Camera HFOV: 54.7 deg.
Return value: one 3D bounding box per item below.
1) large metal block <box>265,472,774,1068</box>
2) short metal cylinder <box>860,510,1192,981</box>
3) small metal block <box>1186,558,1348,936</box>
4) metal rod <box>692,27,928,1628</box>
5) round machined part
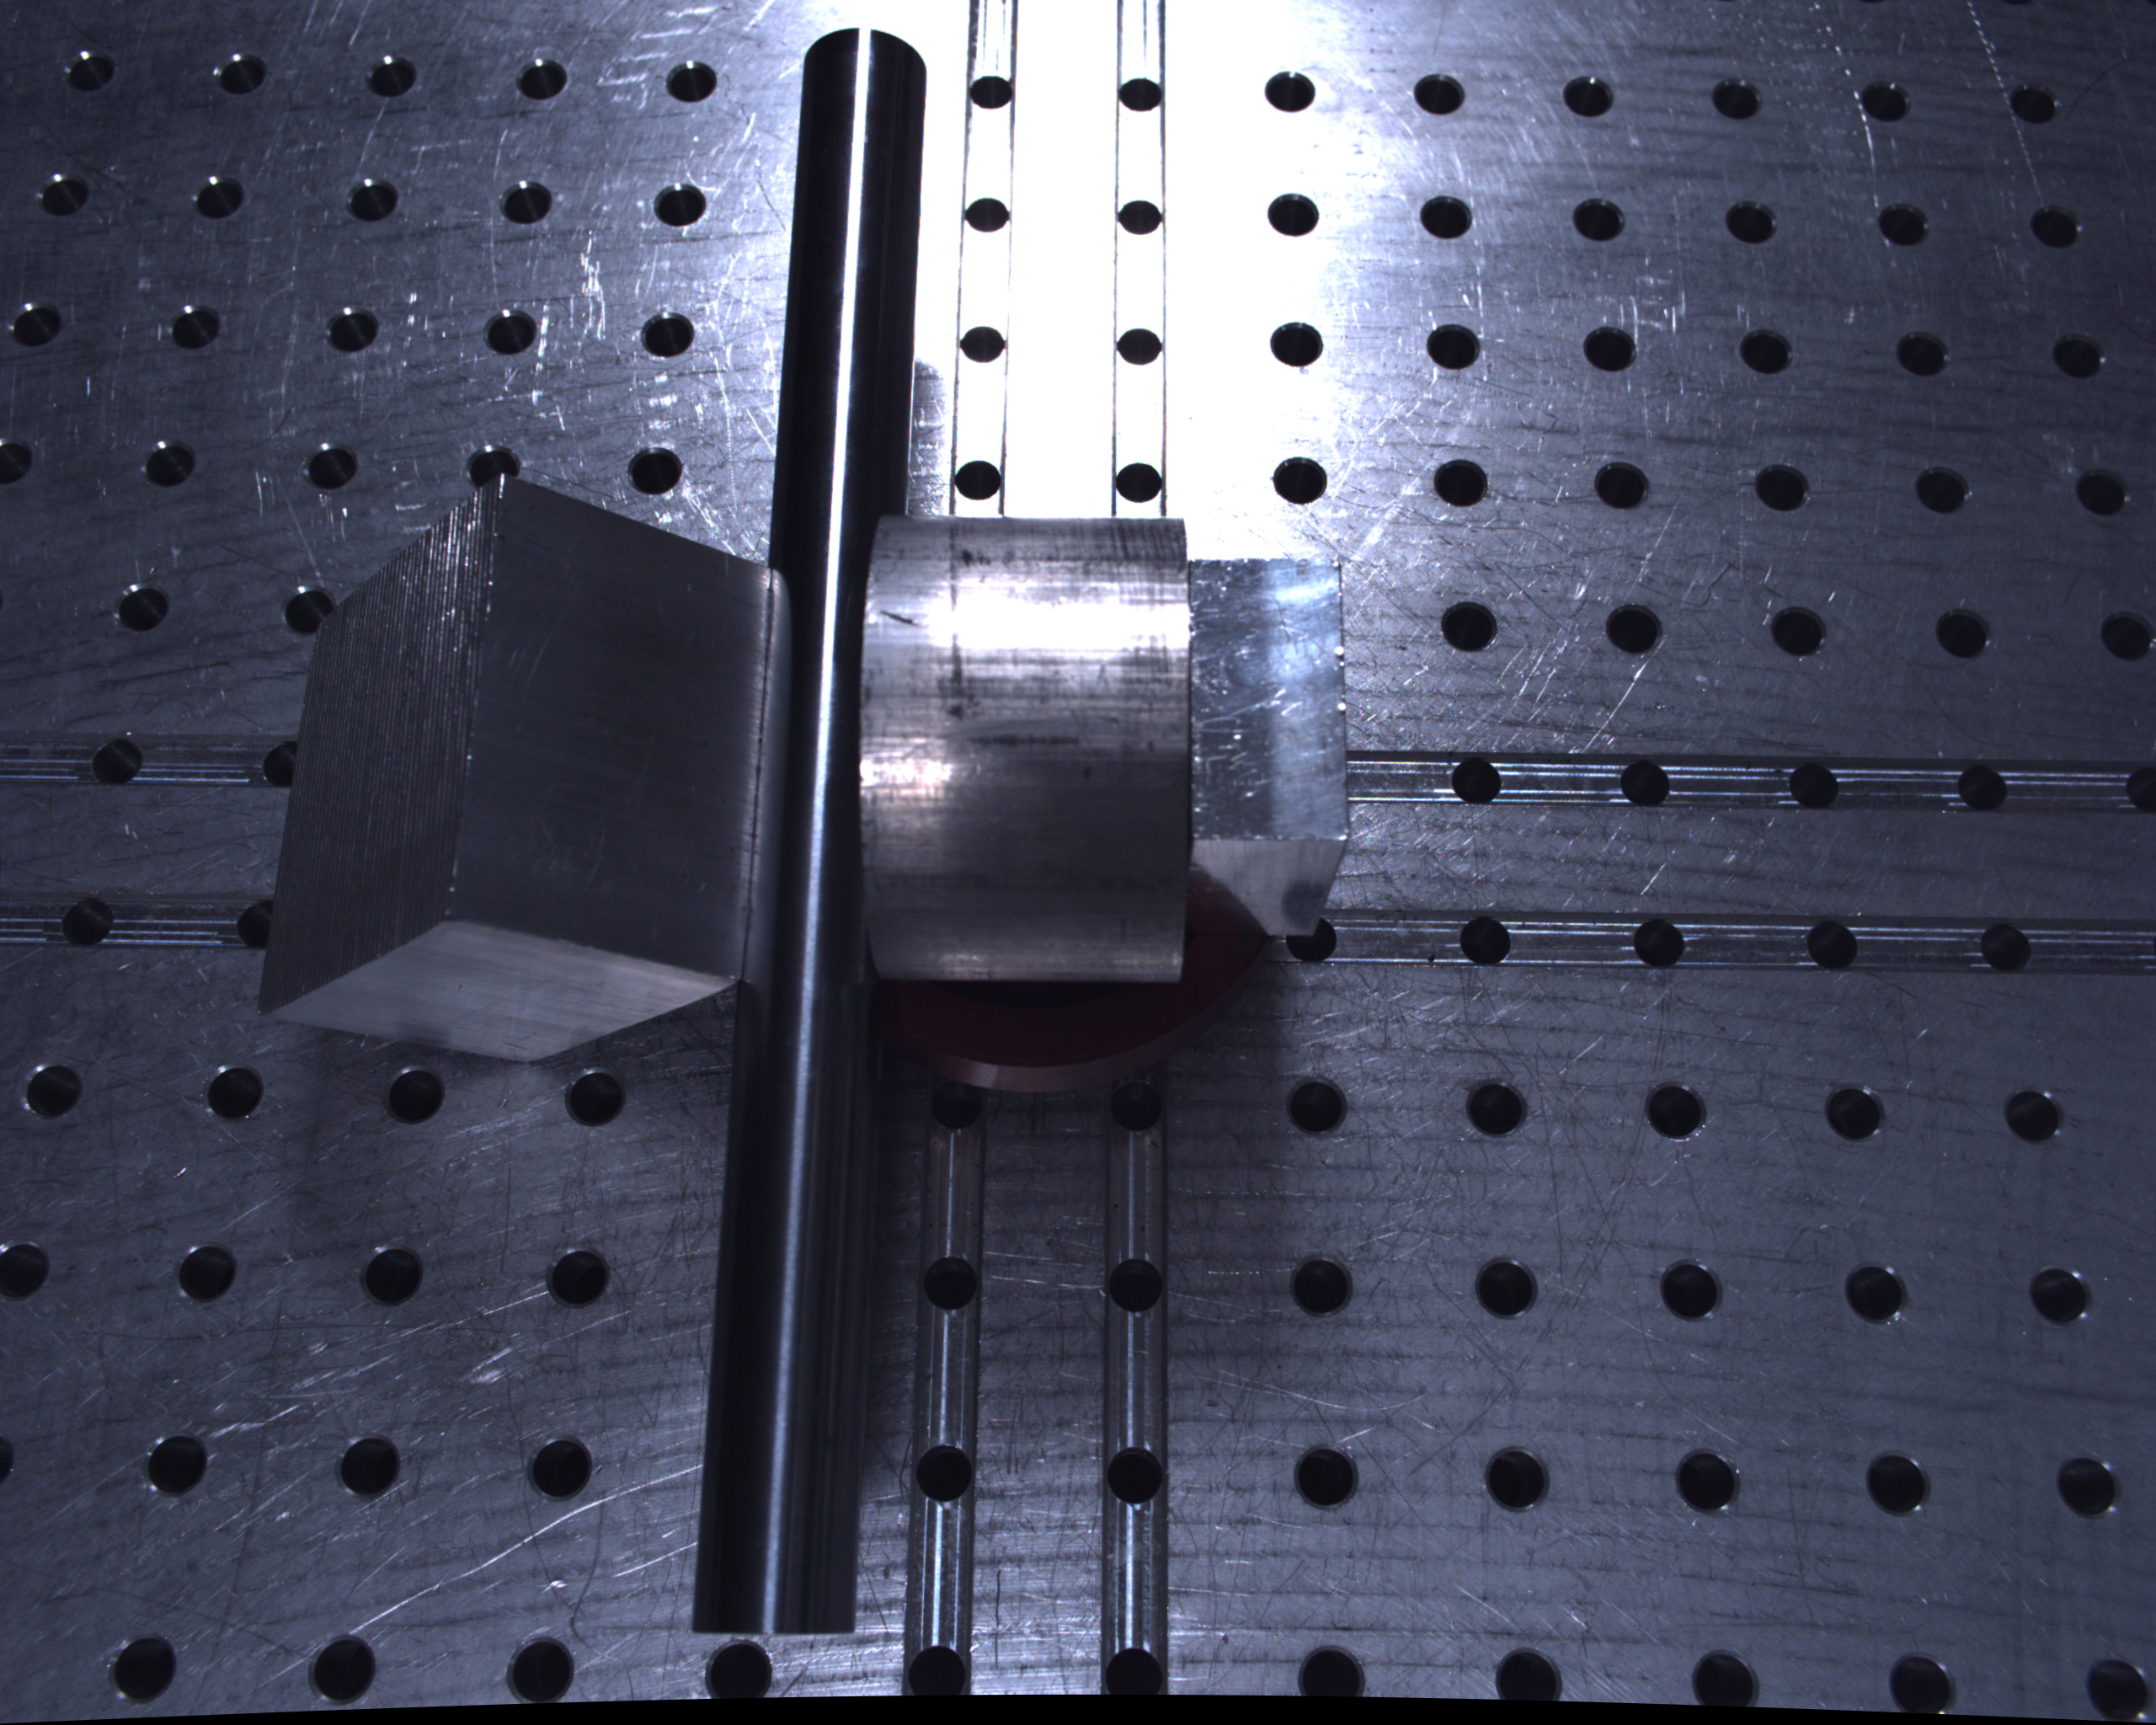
[{"bbox_3d":[-0.102,-0.013,0.380,0.050,0.080,0.080,18,64,-38],"label":"large metal block"},{"bbox_3d":[-0.008,-0.020,0.358,0.050,0.080,0.080,1,70,0],"label":"short metal cylinder"},{"bbox_3d":[0.030,-0.019,0.361,0.025,0.050,0.050,1,70,0],"label":"small metal block"},{"bbox_3d":[-0.045,-0.022,0.375,0.025,0.025,0.299,1,70,0],"label":"metal rod"},{"bbox_3d":[-0.008,-0.003,0.402,0.099,0.042,0.098,0,70,-1],"label":"round machined part"}]
